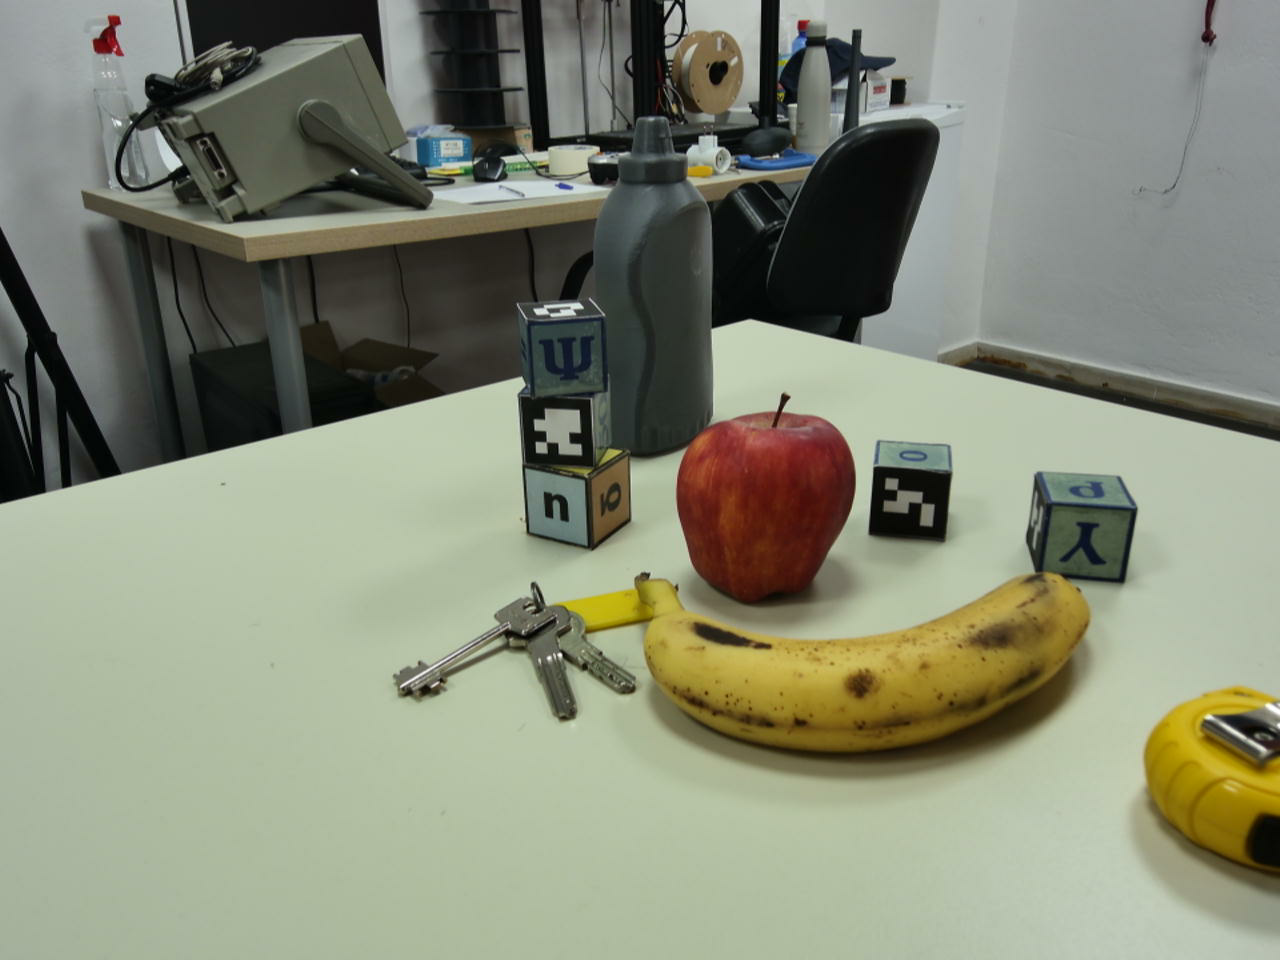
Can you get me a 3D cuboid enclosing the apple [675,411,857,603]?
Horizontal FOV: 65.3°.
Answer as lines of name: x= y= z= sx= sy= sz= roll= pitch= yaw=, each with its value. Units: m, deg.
apple: x=0.058 y=0.004 z=0.452 sx=0.083 sy=0.090 sz=0.083 roll=1 pitch=22 yaw=0
